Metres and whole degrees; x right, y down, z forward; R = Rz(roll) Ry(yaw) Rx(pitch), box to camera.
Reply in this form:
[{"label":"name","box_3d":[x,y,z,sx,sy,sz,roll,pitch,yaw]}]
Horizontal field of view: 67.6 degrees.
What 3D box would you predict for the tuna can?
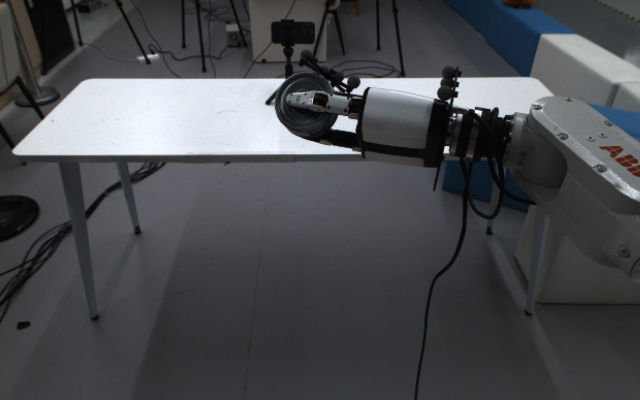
[{"label":"tuna can","box_3d":[-0.017,-0.132,0.663,0.085,0.085,0.034,13,-4,15]}]
